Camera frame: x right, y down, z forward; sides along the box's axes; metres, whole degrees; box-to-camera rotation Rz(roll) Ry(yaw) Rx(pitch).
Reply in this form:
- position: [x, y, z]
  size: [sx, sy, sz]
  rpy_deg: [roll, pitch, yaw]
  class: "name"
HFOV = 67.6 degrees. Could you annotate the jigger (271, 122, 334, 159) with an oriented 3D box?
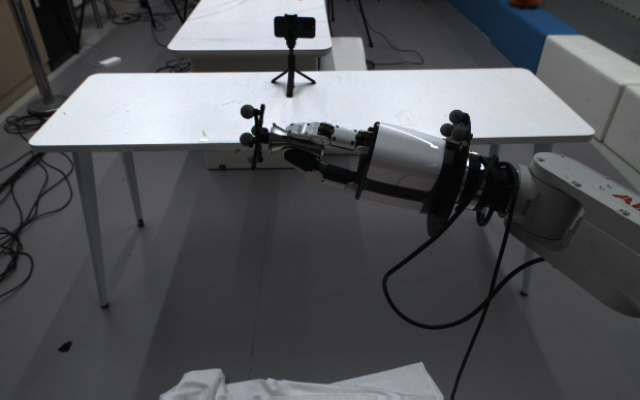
- position: [-0.022, -0.079, 0.625]
  size: [0.071, 0.043, 0.043]
  rpy_deg: [5, 35, 2]
  class: "jigger"
